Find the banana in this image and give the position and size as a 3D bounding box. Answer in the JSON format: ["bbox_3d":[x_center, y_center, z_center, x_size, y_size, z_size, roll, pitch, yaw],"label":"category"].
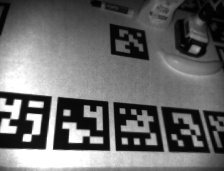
[{"bbox_3d":[0.213,-0.050,0.595,0.198,0.039,0.074,12,62,-11],"label":"banana"}]

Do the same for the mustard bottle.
[{"bbox_3d":[0.138,-0.230,0.569,0.097,0.191,0.058,16,59,-11],"label":"mustard bottle"}]

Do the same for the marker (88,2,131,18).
[{"bbox_3d":[-0.007,-0.212,0.609,0.122,0.019,0.019,8,62,-16],"label":"marker"}]

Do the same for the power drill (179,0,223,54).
[{"bbox_3d":[0.246,-0.170,0.556,0.058,0.186,0.184,19,57,-10],"label":"power drill"}]
